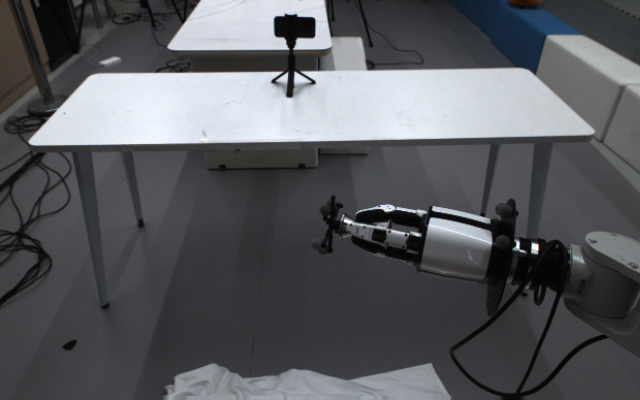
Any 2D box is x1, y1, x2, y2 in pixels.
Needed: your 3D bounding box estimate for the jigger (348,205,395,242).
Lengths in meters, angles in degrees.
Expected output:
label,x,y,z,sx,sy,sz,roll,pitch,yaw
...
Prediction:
label,x,y,z,sx,sy,sz,roll,pitch,yaw
jigger,0.071,0.039,0.691,0.071,0.043,0.043,8,35,16
